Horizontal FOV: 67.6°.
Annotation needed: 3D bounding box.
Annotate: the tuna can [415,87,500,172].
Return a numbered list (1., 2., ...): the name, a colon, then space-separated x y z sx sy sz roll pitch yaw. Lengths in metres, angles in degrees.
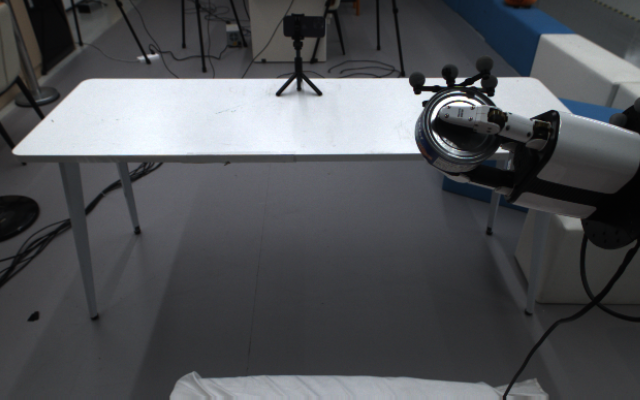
1. tuna can: 0.147 -0.076 0.511 0.085 0.034 0.085 1 73 -4
